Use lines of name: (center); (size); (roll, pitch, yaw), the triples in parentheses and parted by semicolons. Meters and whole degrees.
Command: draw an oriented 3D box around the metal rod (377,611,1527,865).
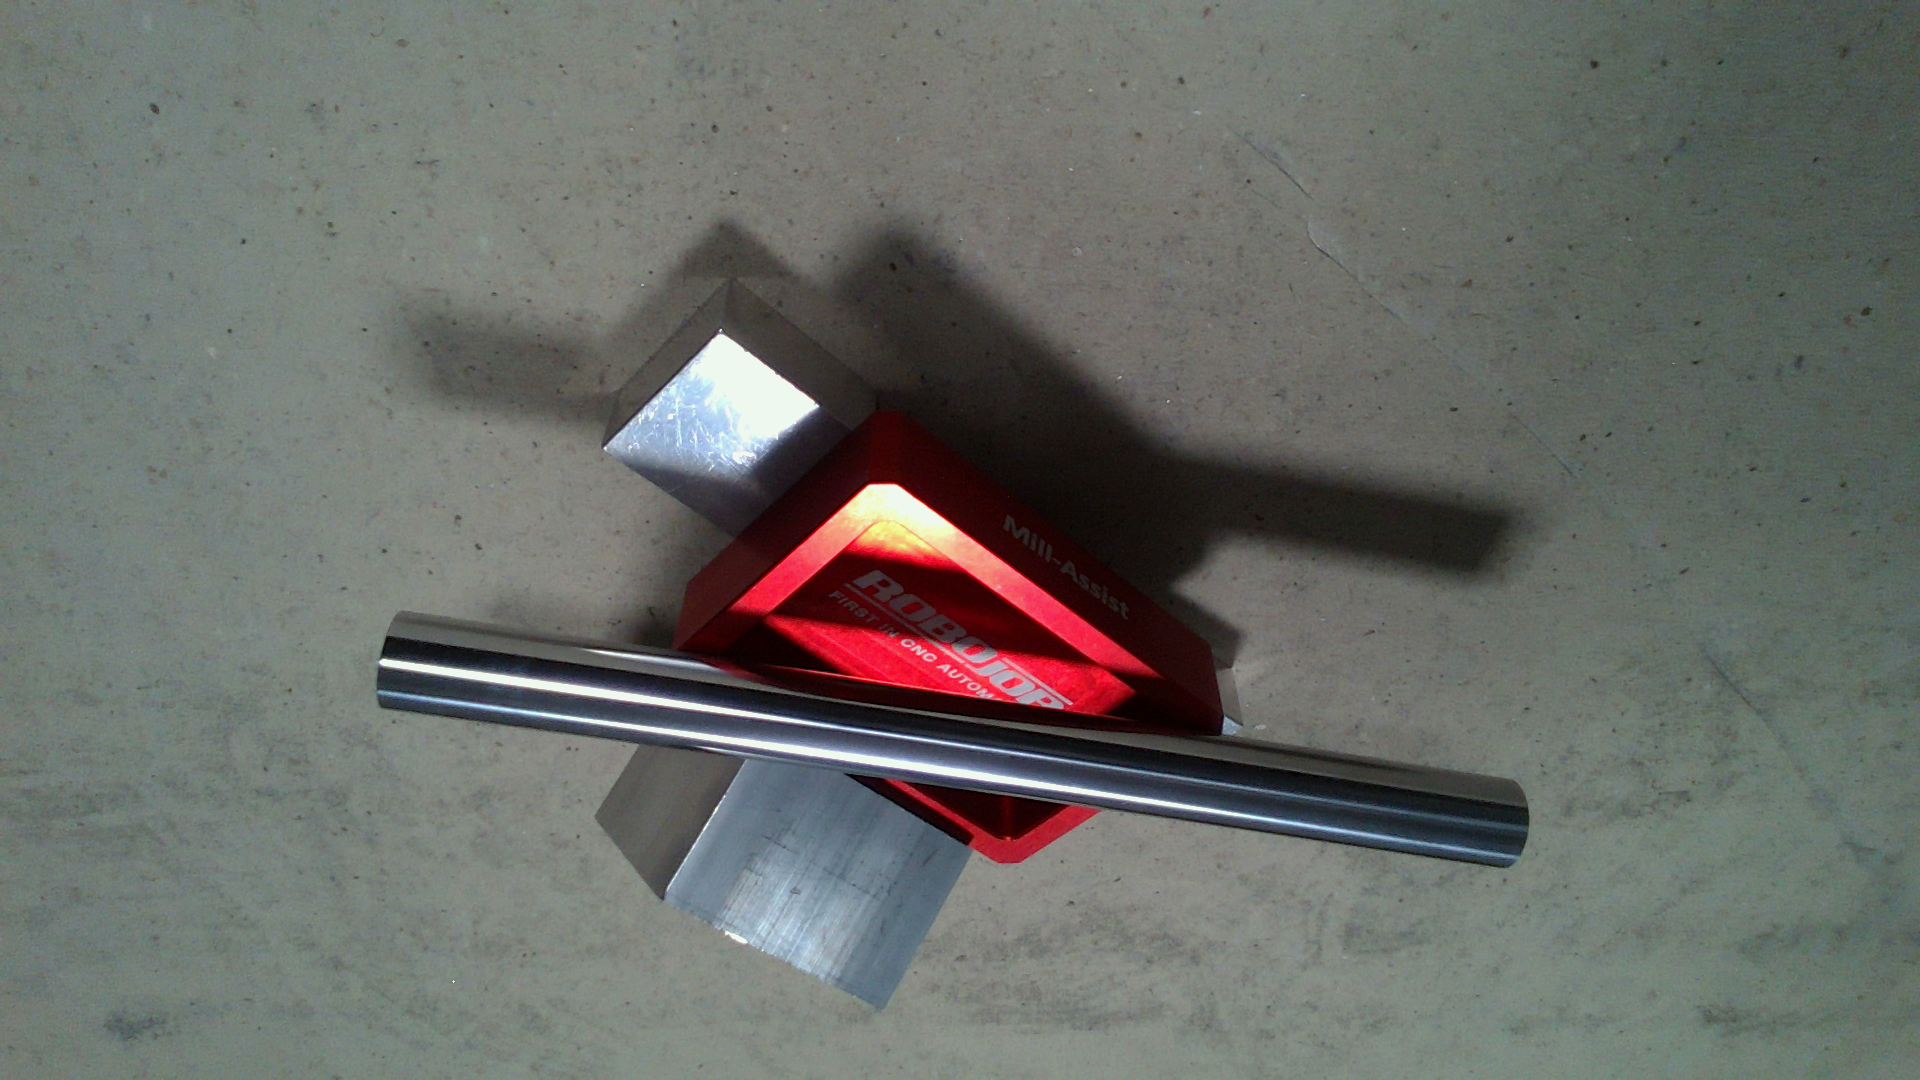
metal rod: (0.005, 0.054, 0.364); (0.300, 0.025, 0.025); (9, 130, -8)

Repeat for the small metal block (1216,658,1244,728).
small metal block: (0.052, 0.052, 0.434); (0.050, 0.025, 0.050); (31, 123, -24)

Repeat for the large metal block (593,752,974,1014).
large metal block: (-0.056, 0.091, 0.420); (0.080, 0.080, 0.050); (36, 80, -26)

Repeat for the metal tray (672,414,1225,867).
metal tray: (-0.002, 0.034, 0.382); (0.130, 0.030, 0.090); (36, 121, -27)

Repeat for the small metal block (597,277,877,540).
small metal block: (-0.058, -0.032, 0.363); (0.050, 0.025, 0.050); (37, 121, -27)
